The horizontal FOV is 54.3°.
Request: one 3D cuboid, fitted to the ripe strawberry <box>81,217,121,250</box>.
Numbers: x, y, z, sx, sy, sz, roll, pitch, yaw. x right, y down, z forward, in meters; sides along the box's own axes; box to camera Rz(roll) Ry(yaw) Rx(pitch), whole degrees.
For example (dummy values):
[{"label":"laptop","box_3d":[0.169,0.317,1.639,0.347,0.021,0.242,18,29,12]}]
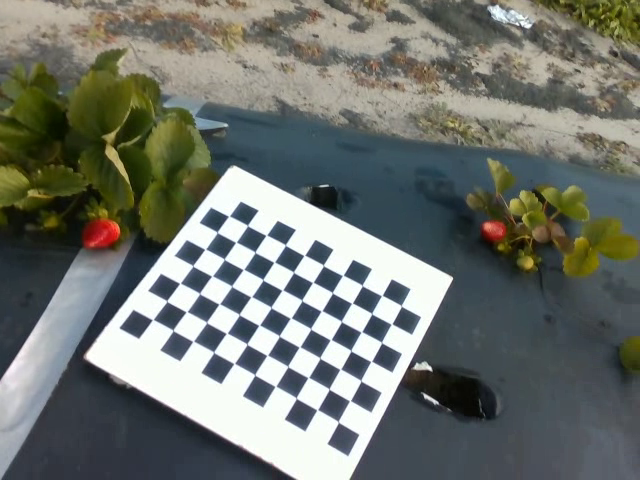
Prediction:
[{"label":"ripe strawberry","box_3d":[-0.221,-0.005,0.618,0.050,0.055,0.036,26,-45,-1]}]
